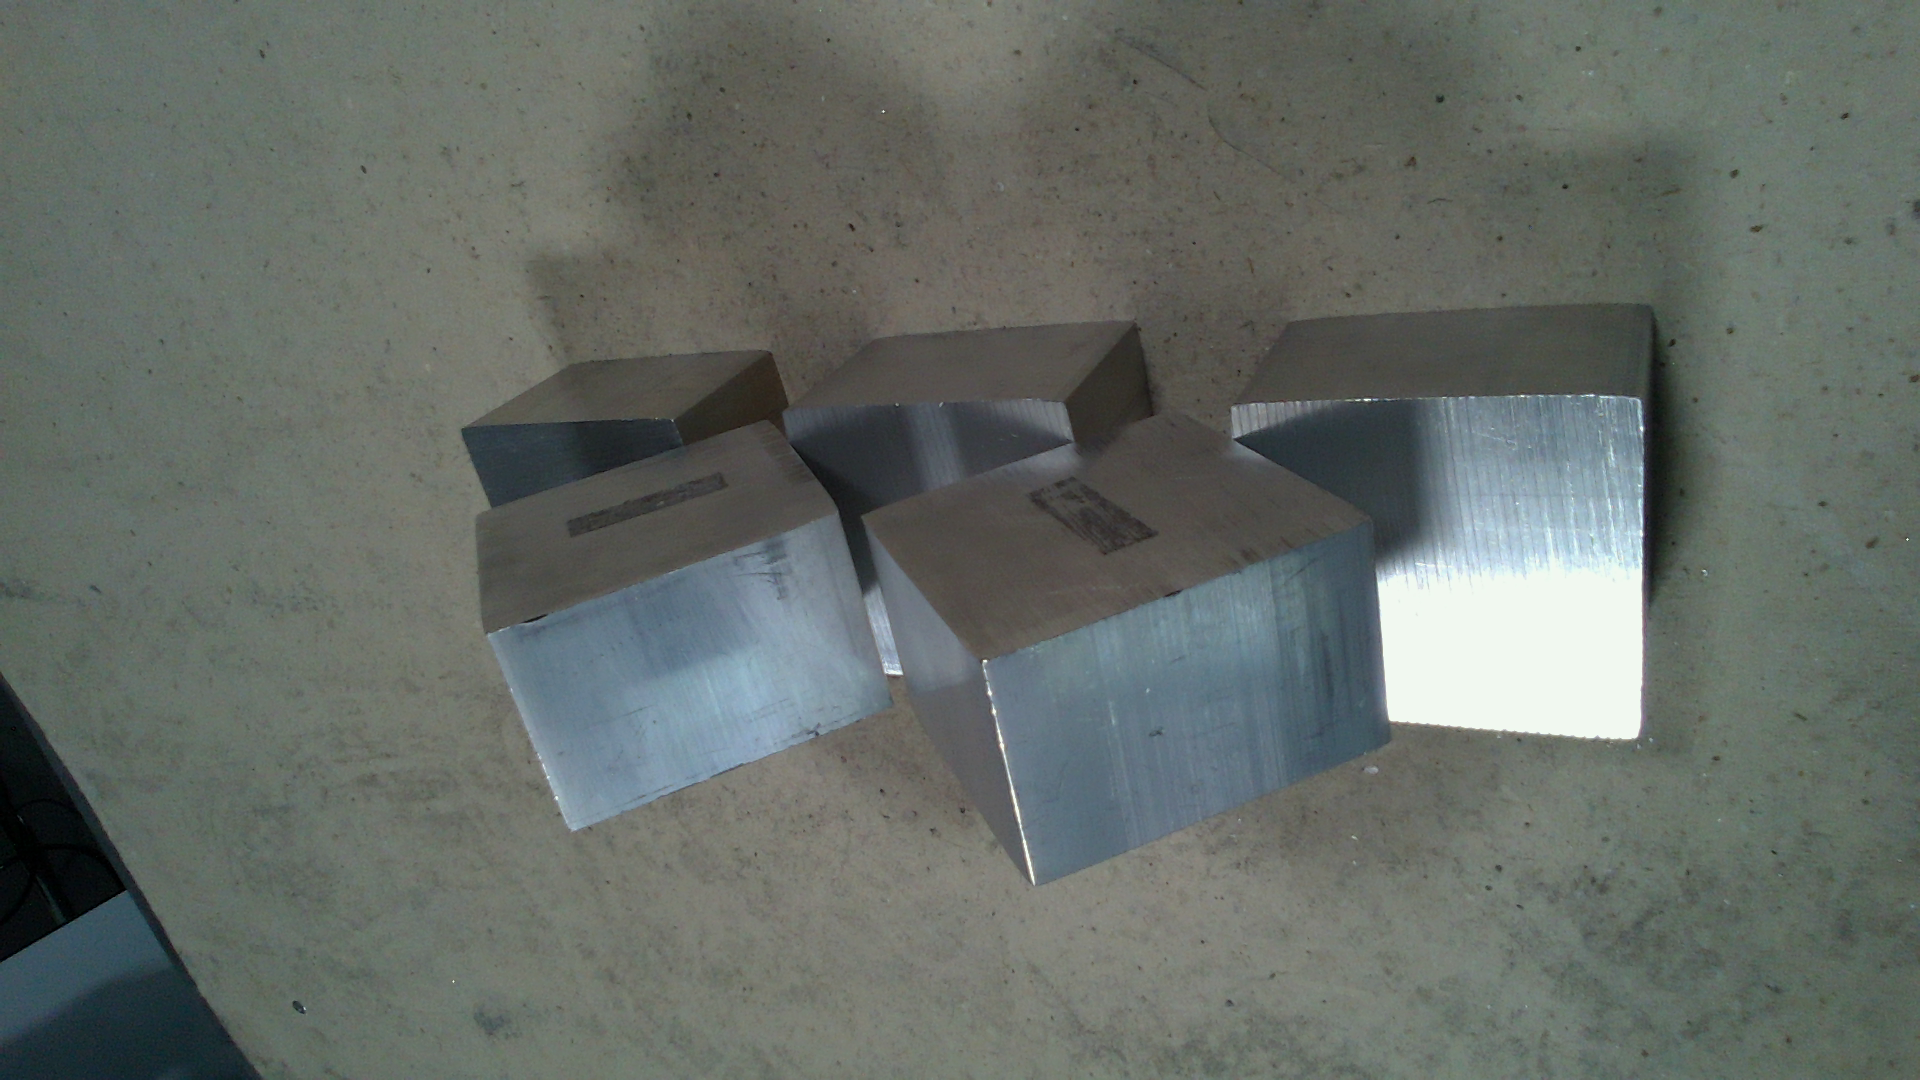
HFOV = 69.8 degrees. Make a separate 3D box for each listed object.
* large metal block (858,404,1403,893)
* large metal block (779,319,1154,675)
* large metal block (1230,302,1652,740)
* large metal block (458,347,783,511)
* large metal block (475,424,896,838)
[{"bbox_3d":[0.033,0.017,0.288,0.080,0.080,0.050,-134,28,-61],"label":"large metal block"},{"bbox_3d":[0.008,-0.010,0.367,0.080,0.050,0.080,1,119,28],"label":"large metal block"},{"bbox_3d":[0.112,-0.005,0.314,0.080,0.050,0.080,1,119,28],"label":"large metal block"},{"bbox_3d":[-0.092,-0.010,0.421,0.080,0.050,0.080,0,119,28],"label":"large metal block"},{"bbox_3d":[-0.071,0.018,0.341,0.080,0.080,0.050,-21,116,-12],"label":"large metal block"}]
